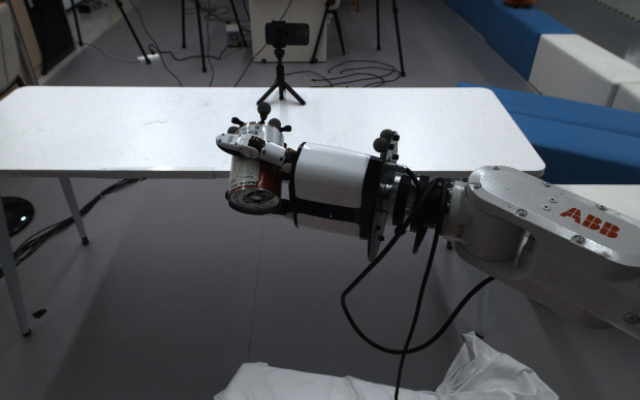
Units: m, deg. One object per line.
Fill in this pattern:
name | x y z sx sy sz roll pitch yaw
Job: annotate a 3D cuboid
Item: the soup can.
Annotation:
soup can | -0.080 -0.041 0.621 0.067 0.067 0.101 0 61 -2
